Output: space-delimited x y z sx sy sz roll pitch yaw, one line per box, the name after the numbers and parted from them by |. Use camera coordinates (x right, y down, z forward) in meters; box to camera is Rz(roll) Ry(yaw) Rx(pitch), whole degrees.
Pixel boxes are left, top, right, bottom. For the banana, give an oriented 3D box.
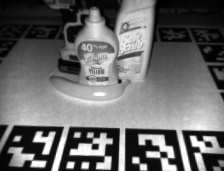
-0.050 -0.012 0.526 0.197 0.039 0.074 3 46 6 | banana

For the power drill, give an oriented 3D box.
-0.066 -0.159 0.523 0.184 0.188 0.057 11 45 9 | power drill

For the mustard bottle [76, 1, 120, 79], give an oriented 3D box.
-0.030 -0.094 0.486 0.096 0.192 0.058 2 45 2 | mustard bottle

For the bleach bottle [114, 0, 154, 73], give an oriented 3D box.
0.043 -0.150 0.509 0.102 0.252 0.067 3 39 4 | bleach bottle
